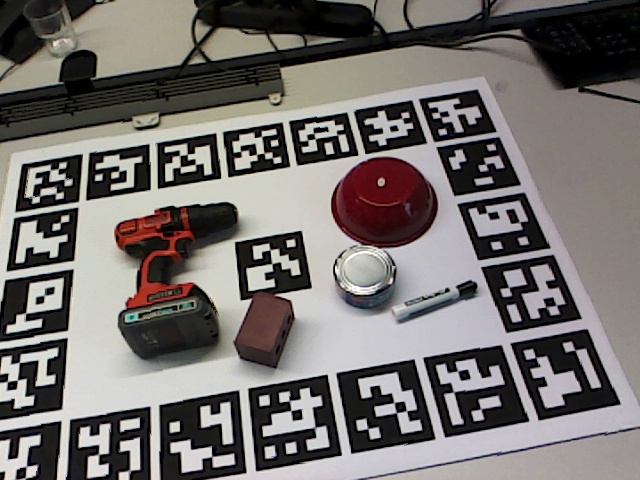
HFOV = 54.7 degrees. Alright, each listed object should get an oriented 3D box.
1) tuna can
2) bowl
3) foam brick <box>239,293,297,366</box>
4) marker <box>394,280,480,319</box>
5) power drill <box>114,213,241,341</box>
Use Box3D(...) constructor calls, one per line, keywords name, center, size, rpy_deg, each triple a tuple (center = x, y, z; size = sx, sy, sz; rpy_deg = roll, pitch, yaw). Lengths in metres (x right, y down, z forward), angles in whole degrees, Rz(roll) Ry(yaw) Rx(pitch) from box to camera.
Box3D(name="tuna can", center=(0.066, 0.047, 0.855), size=(0.086, 0.033, 0.086), rpy_deg=(-1, 55, 1))
Box3D(name="bowl", center=(0.096, -0.066, 0.930), size=(0.162, 0.055, 0.162), rpy_deg=(-6, 49, 6))
Box3D(name="foam brick", center=(-0.068, 0.118, 0.816), size=(0.051, 0.052, 0.078), rpy_deg=(12, 59, 11))
Box3D(name="marker", center=(0.158, 0.079, 0.832), size=(0.121, 0.019, 0.020), rpy_deg=(-17, 57, -7))
Box3D(name="power drill", center=(-0.198, 0.042, 0.874), size=(0.184, 0.057, 0.188), rpy_deg=(-8, 53, -5))
